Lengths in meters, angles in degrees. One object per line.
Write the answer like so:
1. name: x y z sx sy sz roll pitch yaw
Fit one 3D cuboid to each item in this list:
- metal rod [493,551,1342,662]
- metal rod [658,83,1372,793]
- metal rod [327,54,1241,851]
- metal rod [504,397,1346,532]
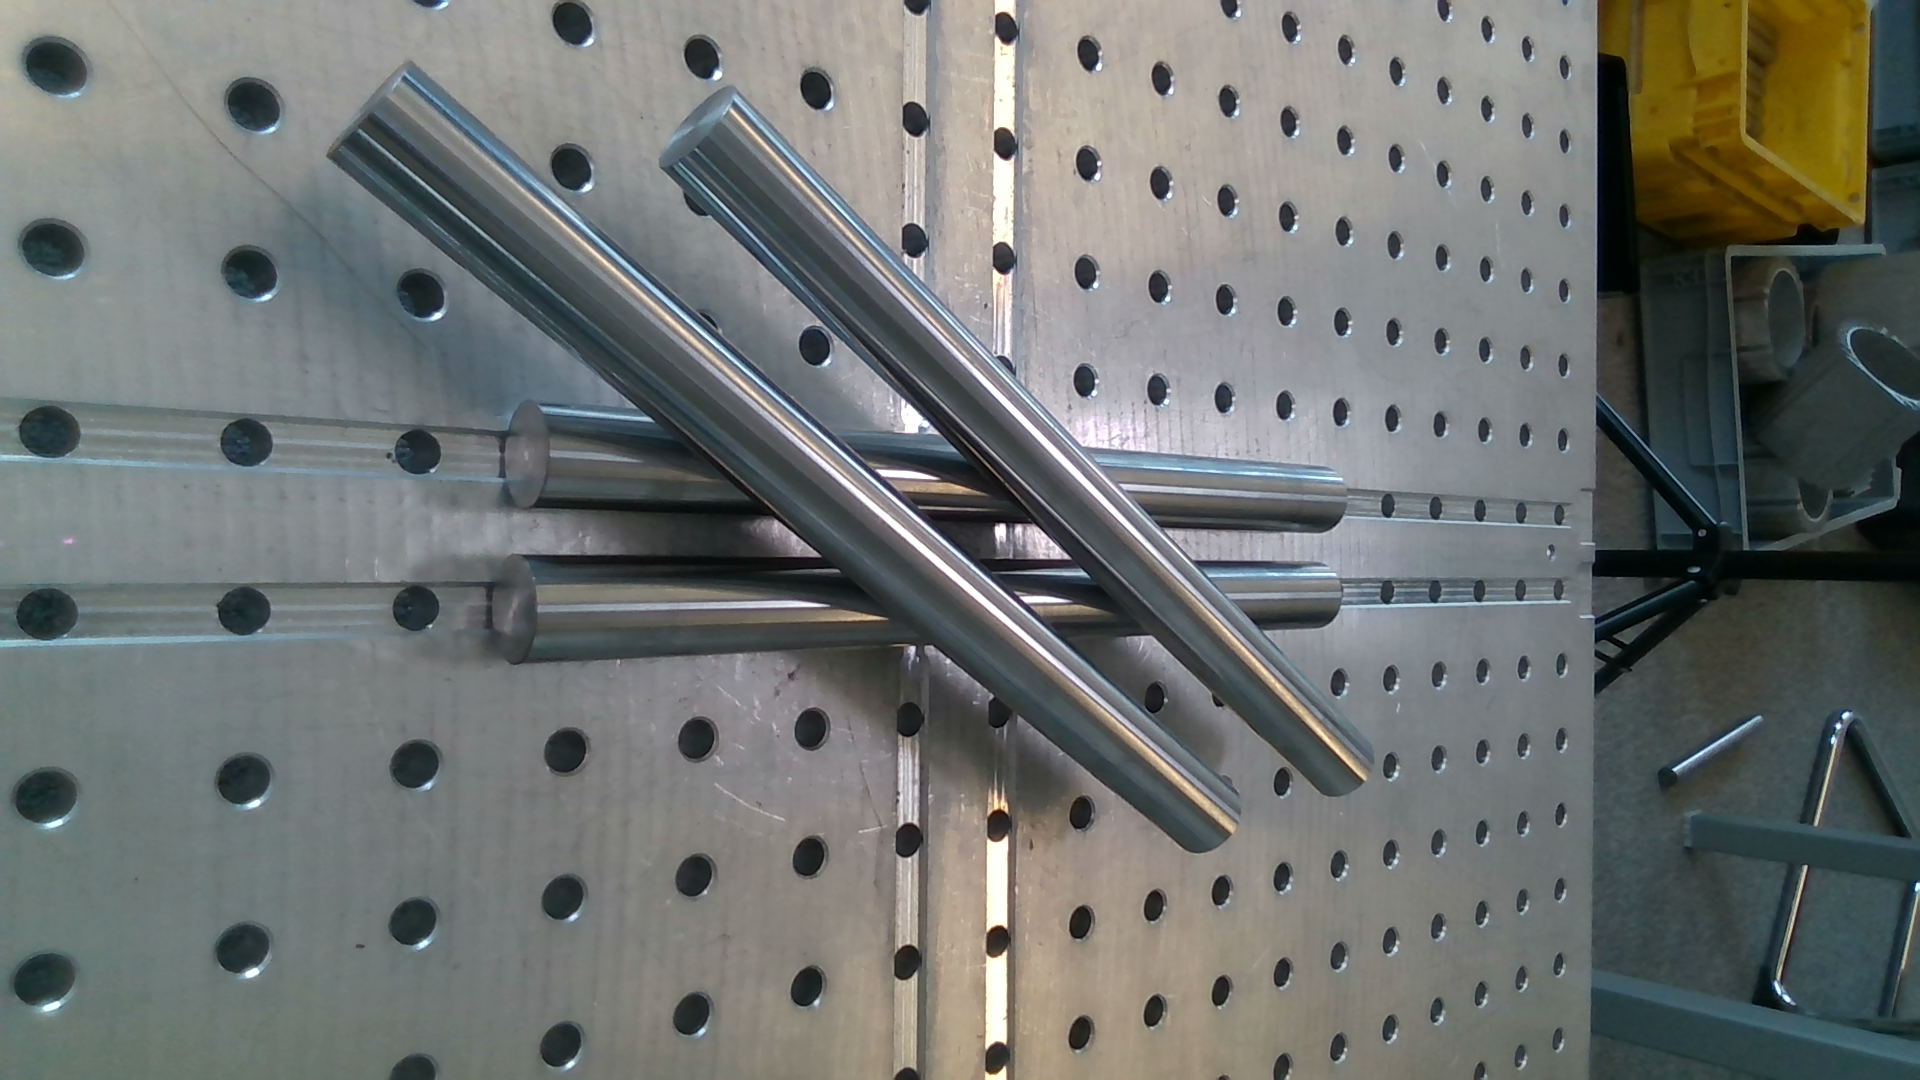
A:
1. metal rod: 0.014 0.017 0.407 0.300 0.025 0.025 1 89 -40
2. metal rod: 0.035 -0.009 0.392 0.301 0.025 0.025 42 64 -32
3. metal rod: -0.019 0.000 0.345 0.301 0.025 0.025 42 65 -32
4. metal rod: 0.016 -0.018 0.408 0.300 0.025 0.025 1 89 -40
